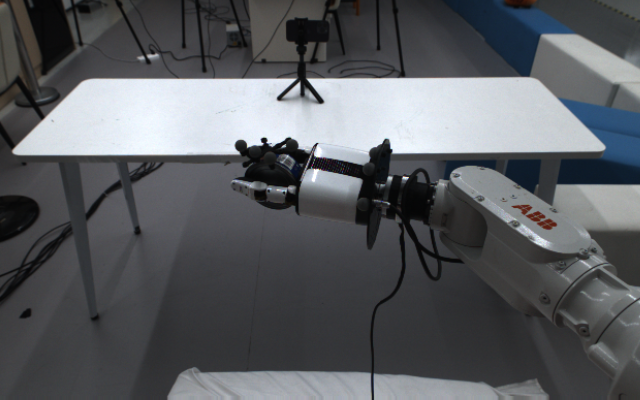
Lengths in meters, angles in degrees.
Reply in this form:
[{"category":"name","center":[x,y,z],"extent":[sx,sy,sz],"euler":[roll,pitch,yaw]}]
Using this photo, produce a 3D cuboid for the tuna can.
[{"category":"tuna can","center":[-0.065,-0.029,0.715],"extent":[0.085,0.085,0.034],"euler":[11,38,13]}]
